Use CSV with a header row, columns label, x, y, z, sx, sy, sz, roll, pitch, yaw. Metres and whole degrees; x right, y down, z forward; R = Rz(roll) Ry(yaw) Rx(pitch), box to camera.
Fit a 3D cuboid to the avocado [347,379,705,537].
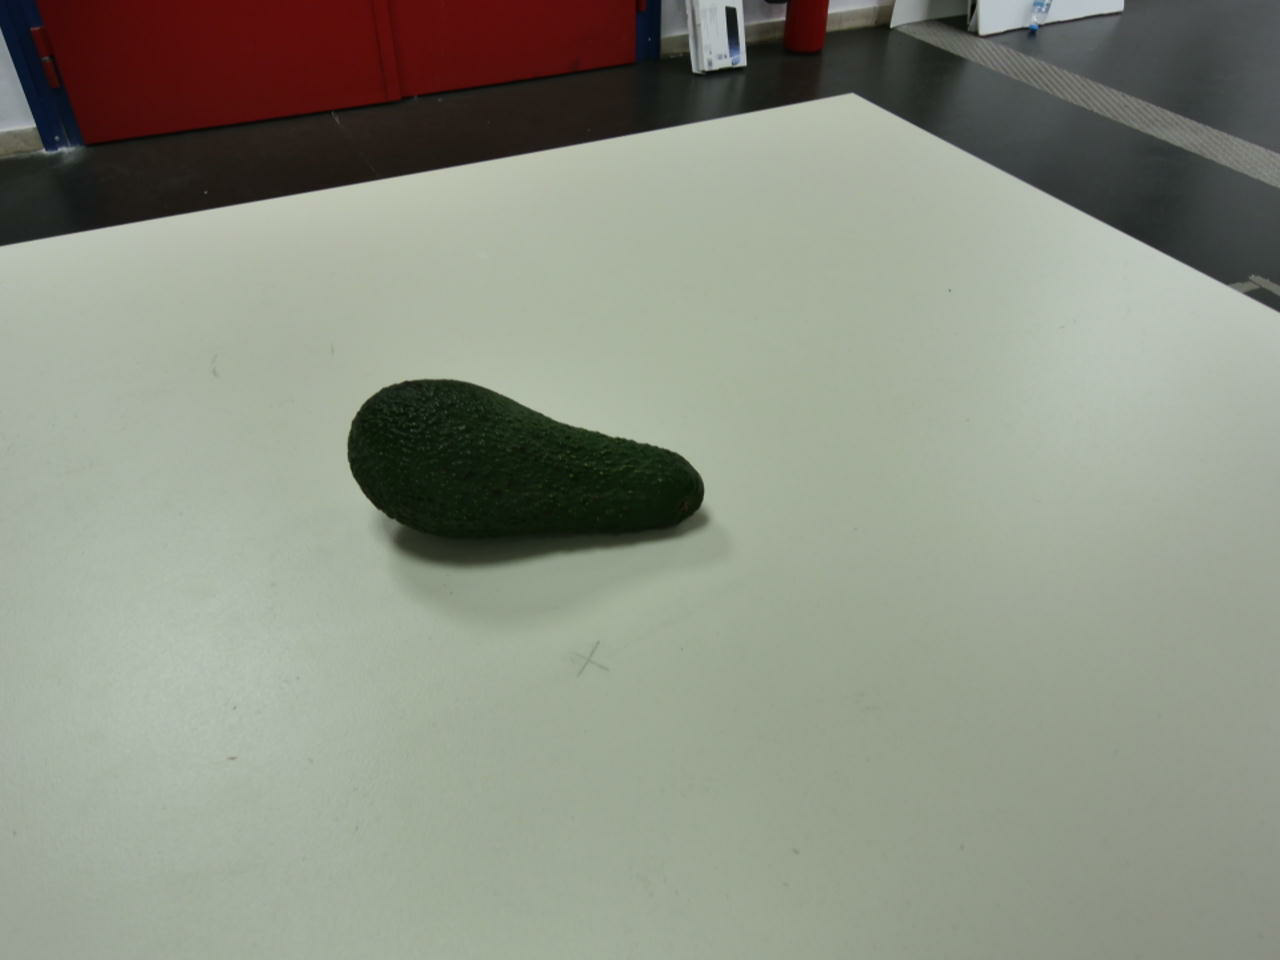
label,x,y,z,sx,sy,sz,roll,pitch,yaw
avocado,-0.046,-0.013,0.406,0.141,0.067,0.063,-7,38,-10
